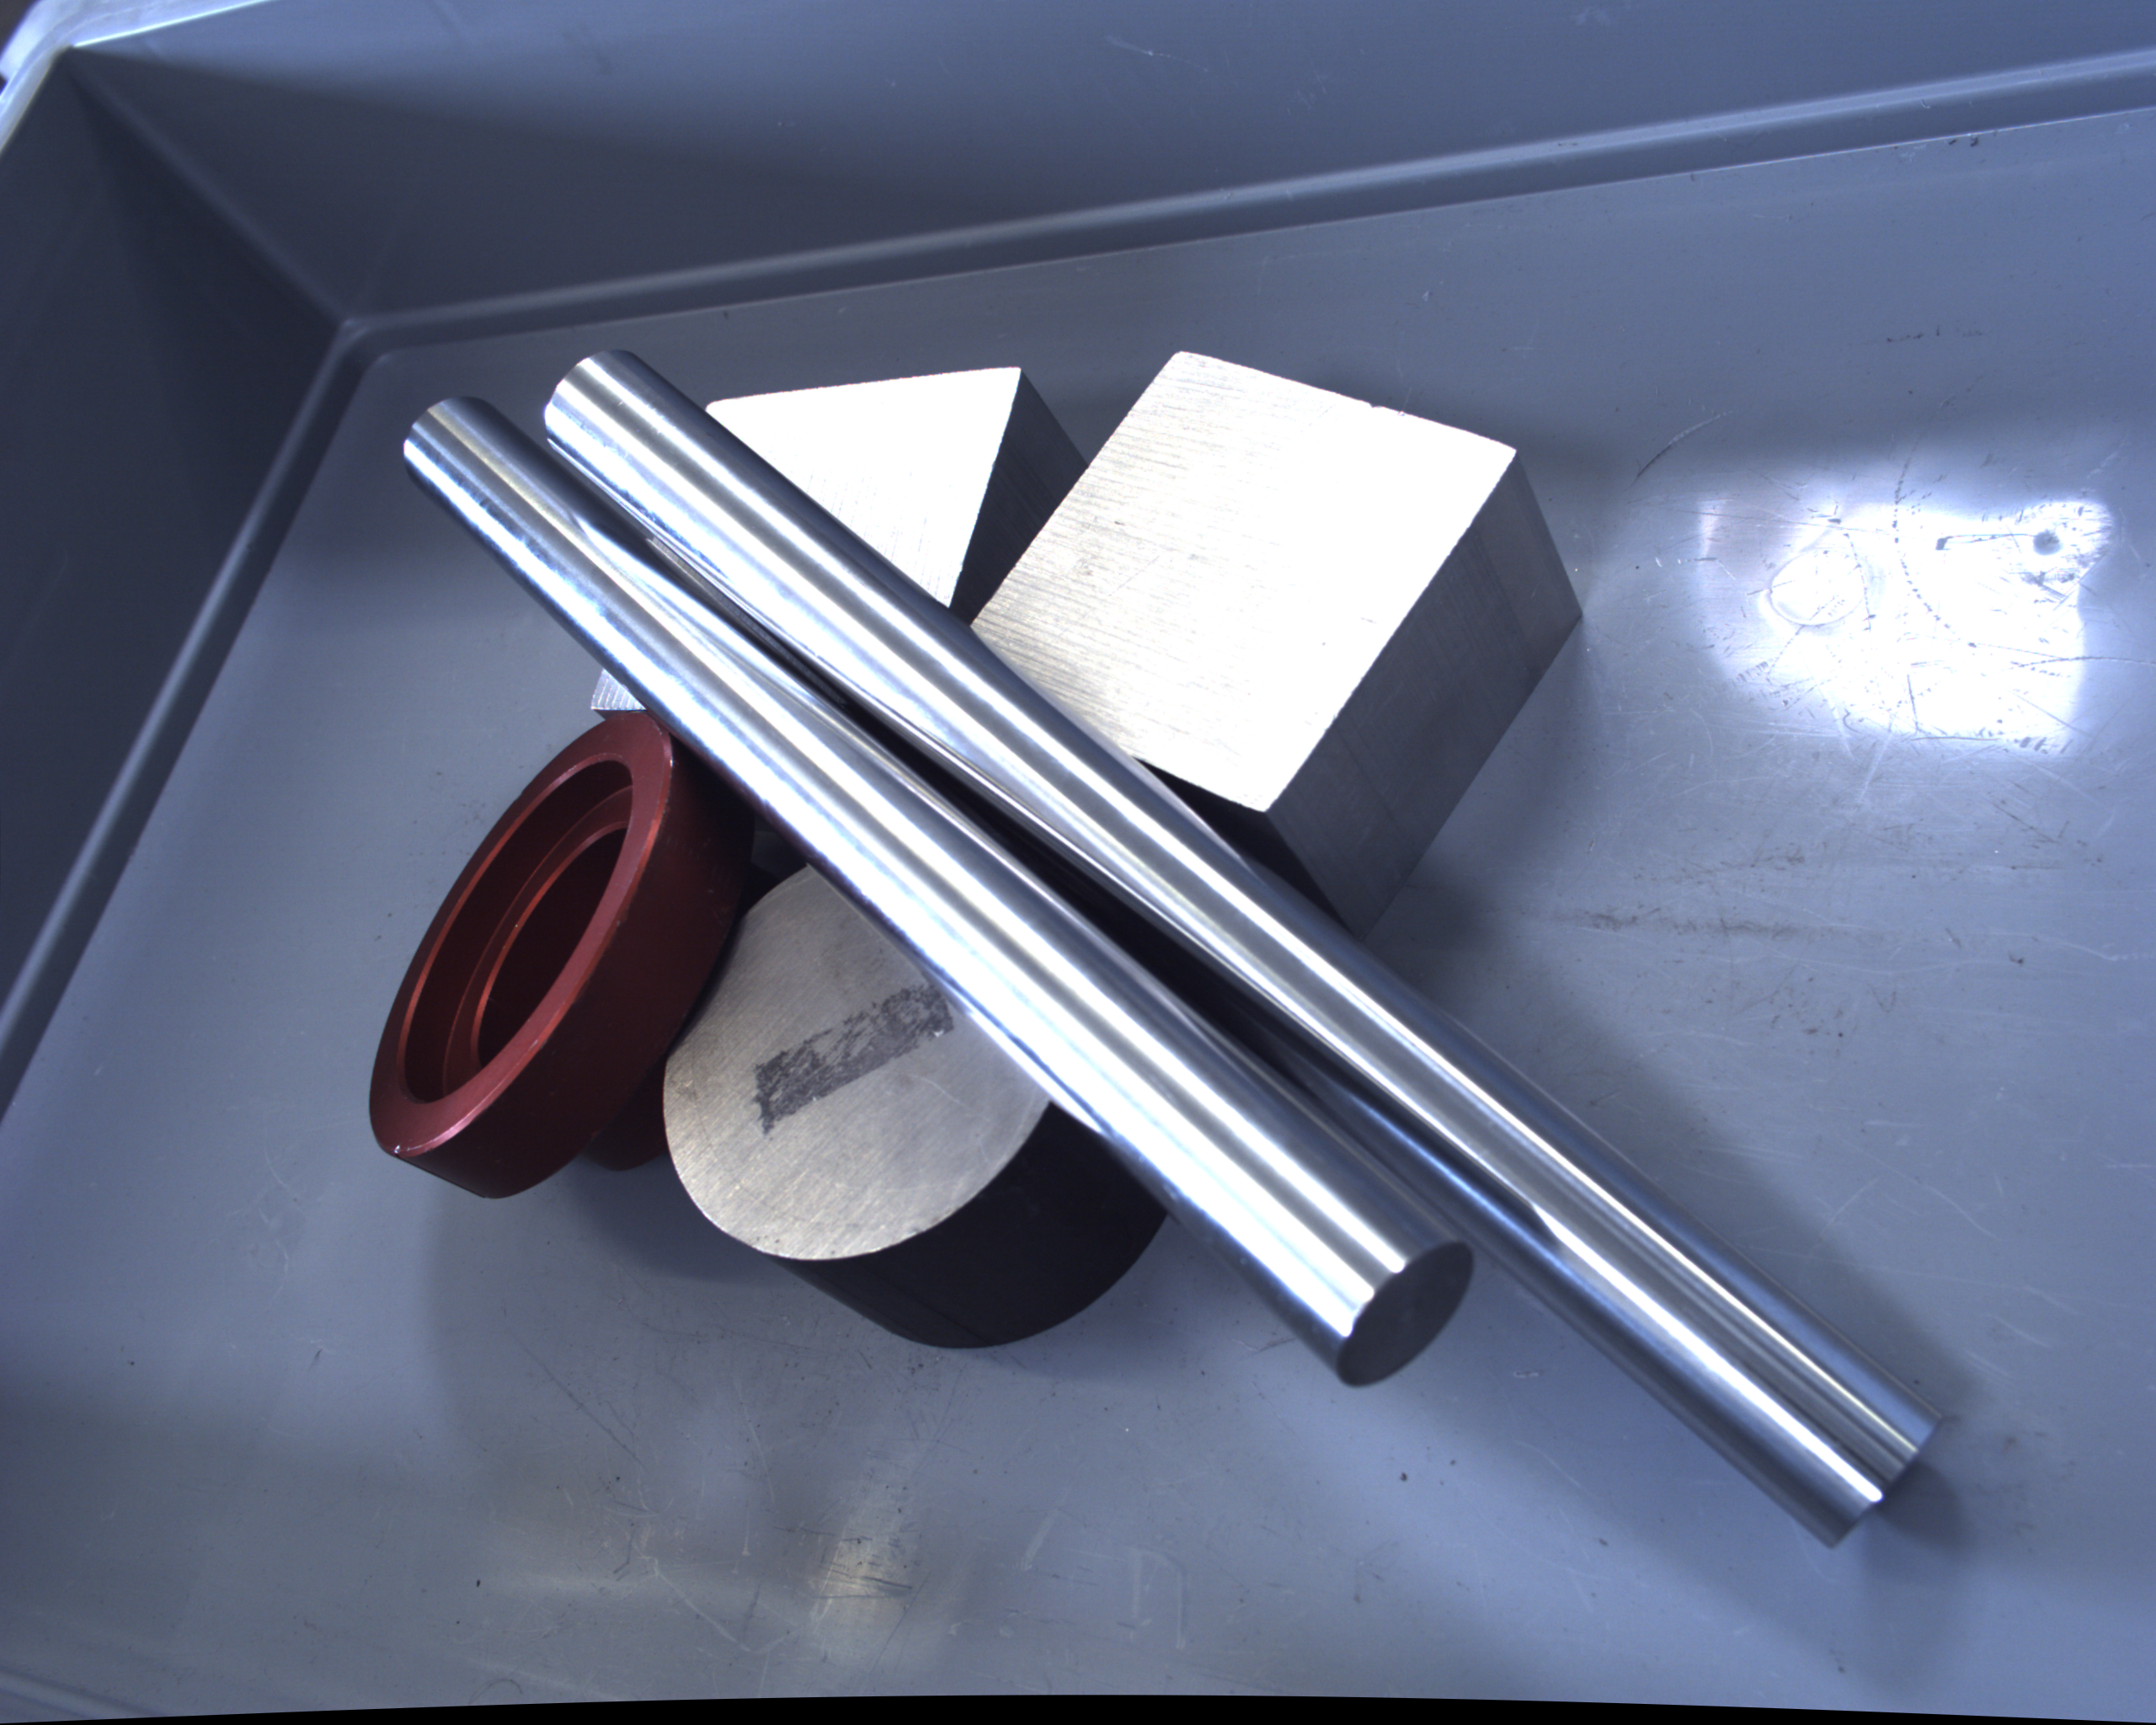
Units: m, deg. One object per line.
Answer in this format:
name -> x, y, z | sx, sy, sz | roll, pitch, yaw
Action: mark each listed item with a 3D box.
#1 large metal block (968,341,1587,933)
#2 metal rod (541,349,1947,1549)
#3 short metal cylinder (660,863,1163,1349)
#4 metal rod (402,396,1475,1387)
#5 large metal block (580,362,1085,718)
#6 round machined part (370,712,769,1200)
large metal block -> 0.035, -0.043, 0.394 | 0.080, 0.050, 0.080 | 27, 77, 37
metal rod -> 0.009, -0.002, 0.352 | 0.300, 0.025, 0.025 | 40, 85, 24
short metal cylinder -> -0.027, 0.041, 0.375 | 0.080, 0.050, 0.080 | -13, 56, 21
metal rod -> -0.047, -0.016, 0.372 | 0.025, 0.025, 0.300 | -47, 52, -4
large metal block -> -0.046, -0.054, 0.441 | 0.080, 0.050, 0.080 | 1, 62, 28
round machined part -> -0.094, 0.022, 0.414 | 0.098, 0.042, 0.098 | -35, 36, 31
